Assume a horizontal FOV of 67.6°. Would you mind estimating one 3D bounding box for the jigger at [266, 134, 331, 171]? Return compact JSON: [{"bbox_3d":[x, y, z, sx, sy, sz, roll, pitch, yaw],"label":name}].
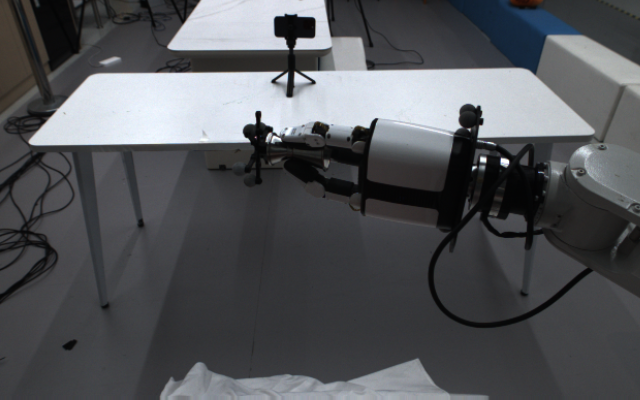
[{"bbox_3d":[-0.018,-0.062,0.570,0.071,0.043,0.043,5,35,12],"label":"jigger"}]
